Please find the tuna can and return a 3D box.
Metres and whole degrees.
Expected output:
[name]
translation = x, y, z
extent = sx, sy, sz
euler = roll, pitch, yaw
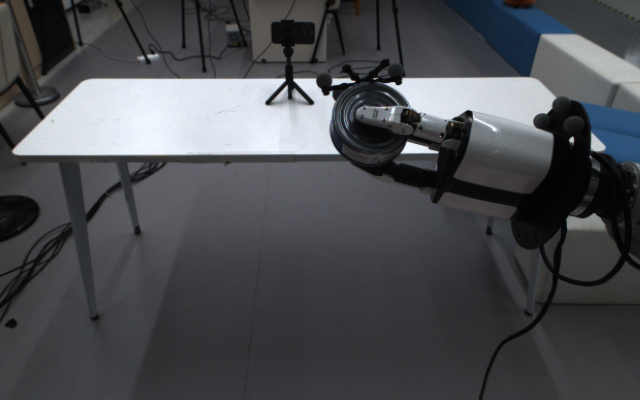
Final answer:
[tuna can]
translation = 0.056, -0.083, 0.513
extent = 0.085, 0.034, 0.085
euler = 0, 72, -1
